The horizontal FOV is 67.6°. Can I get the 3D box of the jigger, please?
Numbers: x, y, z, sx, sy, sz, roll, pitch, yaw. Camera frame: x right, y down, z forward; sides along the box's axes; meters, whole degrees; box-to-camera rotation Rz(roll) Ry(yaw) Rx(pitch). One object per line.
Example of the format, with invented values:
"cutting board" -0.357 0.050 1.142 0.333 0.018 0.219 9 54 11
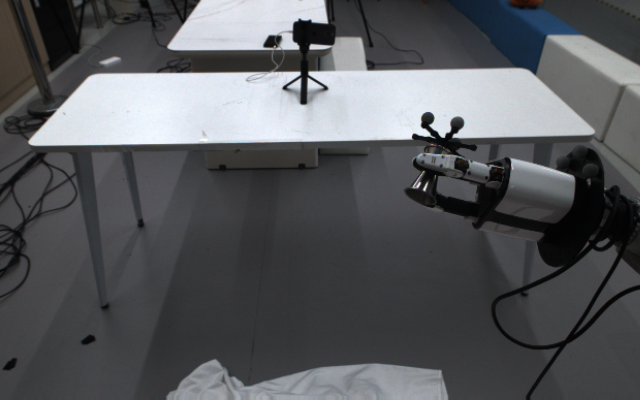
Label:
"jigger" 0.142 -0.036 0.630 0.043 0.043 0.071 19 72 23
